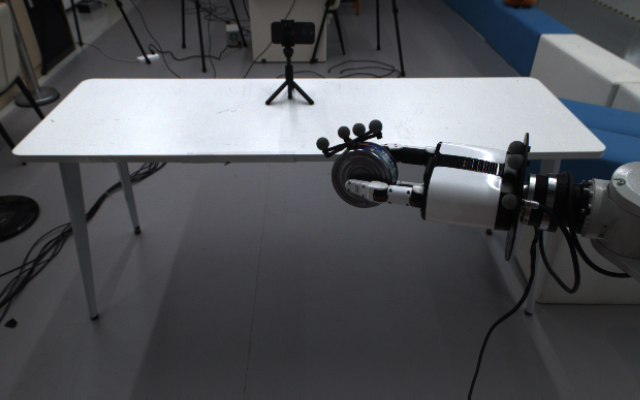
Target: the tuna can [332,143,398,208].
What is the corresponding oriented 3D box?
[{"bbox_3d":[0.063,-0.027,0.649,0.085,0.085,0.034,15,29,17],"label":"tuna can"}]
